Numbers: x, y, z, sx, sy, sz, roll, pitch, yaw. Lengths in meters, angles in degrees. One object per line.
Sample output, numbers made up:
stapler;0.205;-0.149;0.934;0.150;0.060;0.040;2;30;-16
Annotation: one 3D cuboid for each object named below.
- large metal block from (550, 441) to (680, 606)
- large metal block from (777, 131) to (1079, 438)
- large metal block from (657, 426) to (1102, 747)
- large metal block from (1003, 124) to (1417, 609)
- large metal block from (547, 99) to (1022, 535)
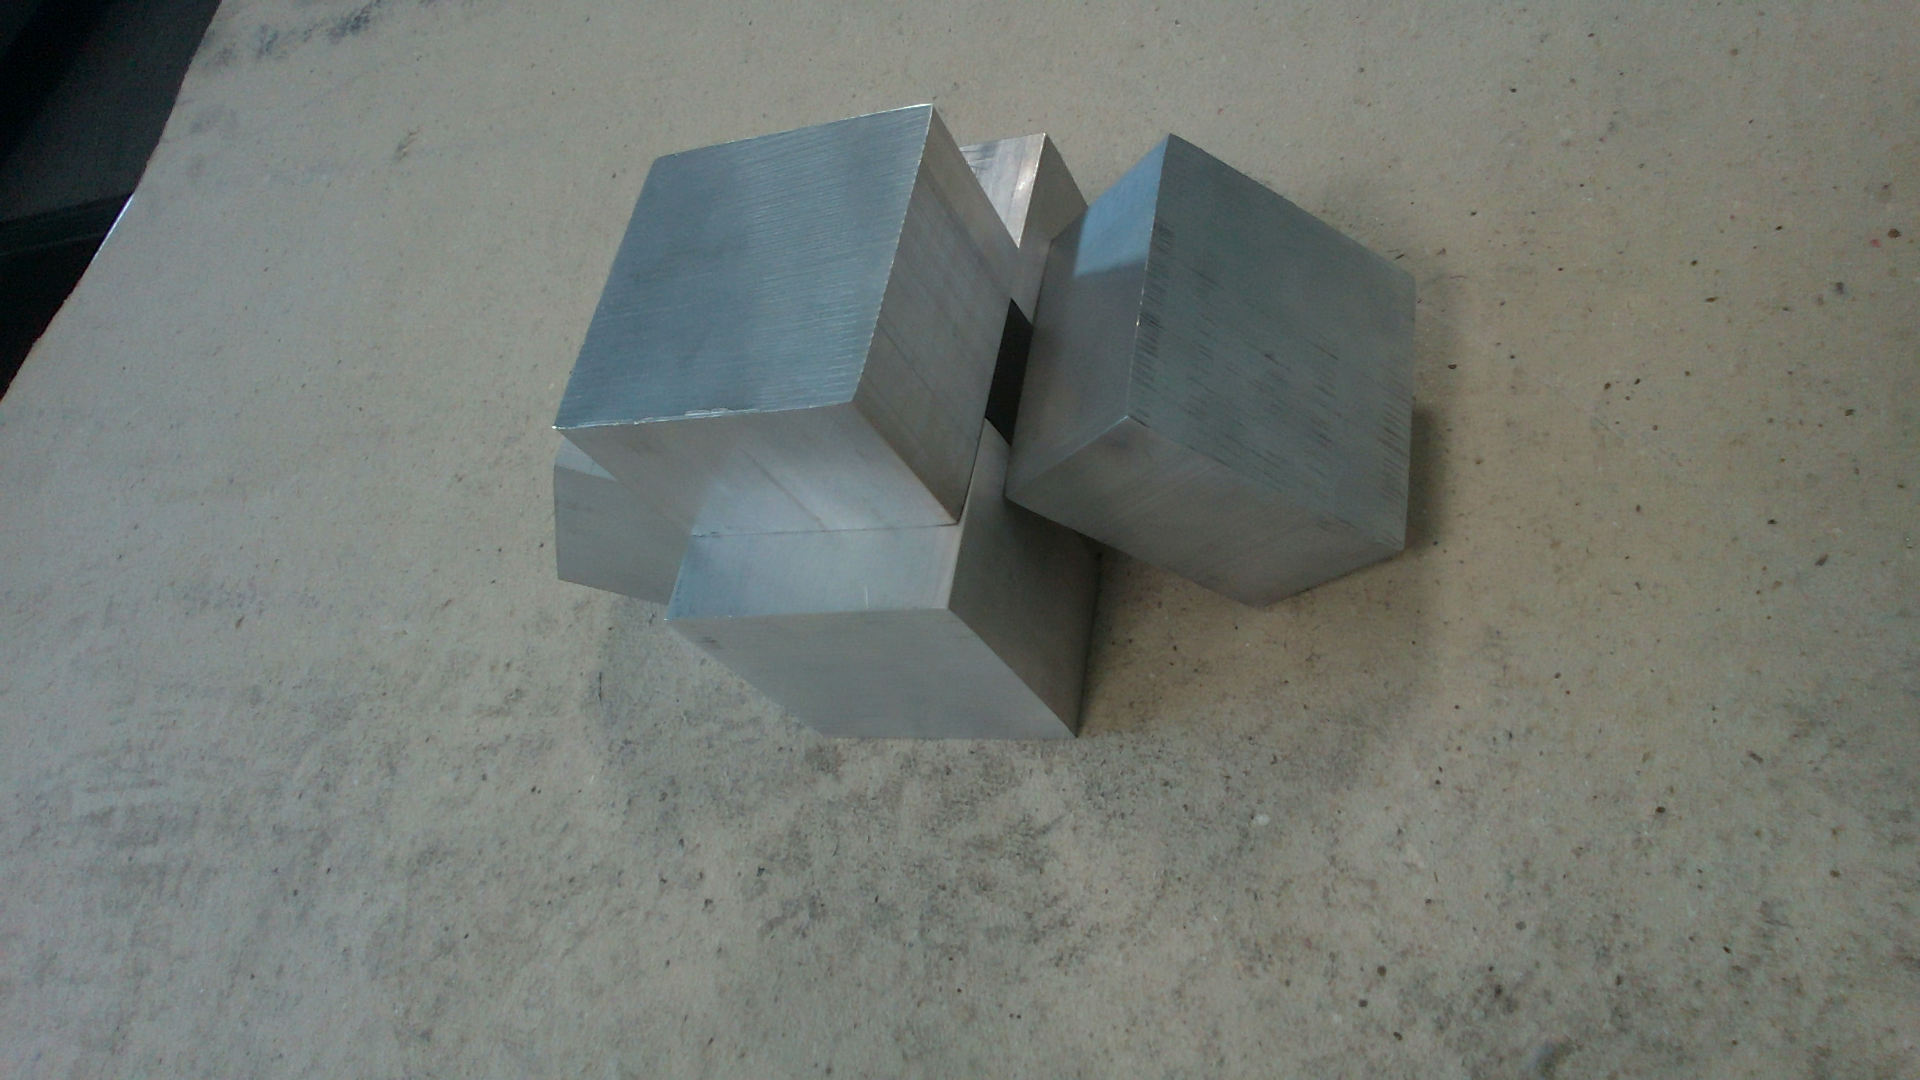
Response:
large metal block;-0.086;-0.032;0.416;0.050;0.080;0.080;15;63;-8
large metal block;0.000;-0.065;0.399;0.080;0.080;0.050;-2;61;27
large metal block;-0.017;0.016;0.360;0.080;0.080;0.050;-4;60;27
large metal block;0.063;-0.040;0.338;0.050;0.080;0.080;-32;41;54
large metal block;-0.038;-0.050;0.325;0.080;0.050;0.080;-2;60;27
